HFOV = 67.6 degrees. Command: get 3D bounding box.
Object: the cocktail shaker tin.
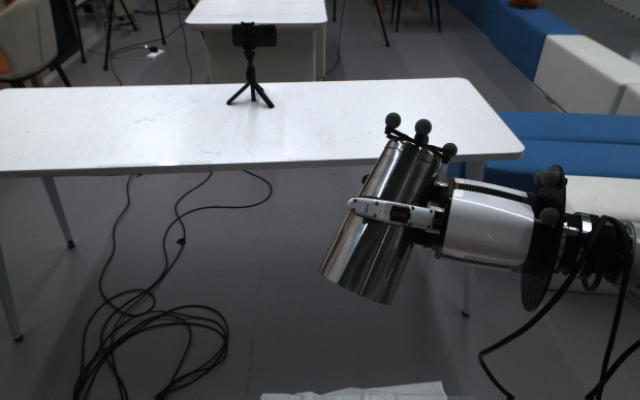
[{"bbox_3d":[0.076,0.019,0.550,0.093,0.170,0.093,23,0,0],"label":"cocktail shaker tin"}]
